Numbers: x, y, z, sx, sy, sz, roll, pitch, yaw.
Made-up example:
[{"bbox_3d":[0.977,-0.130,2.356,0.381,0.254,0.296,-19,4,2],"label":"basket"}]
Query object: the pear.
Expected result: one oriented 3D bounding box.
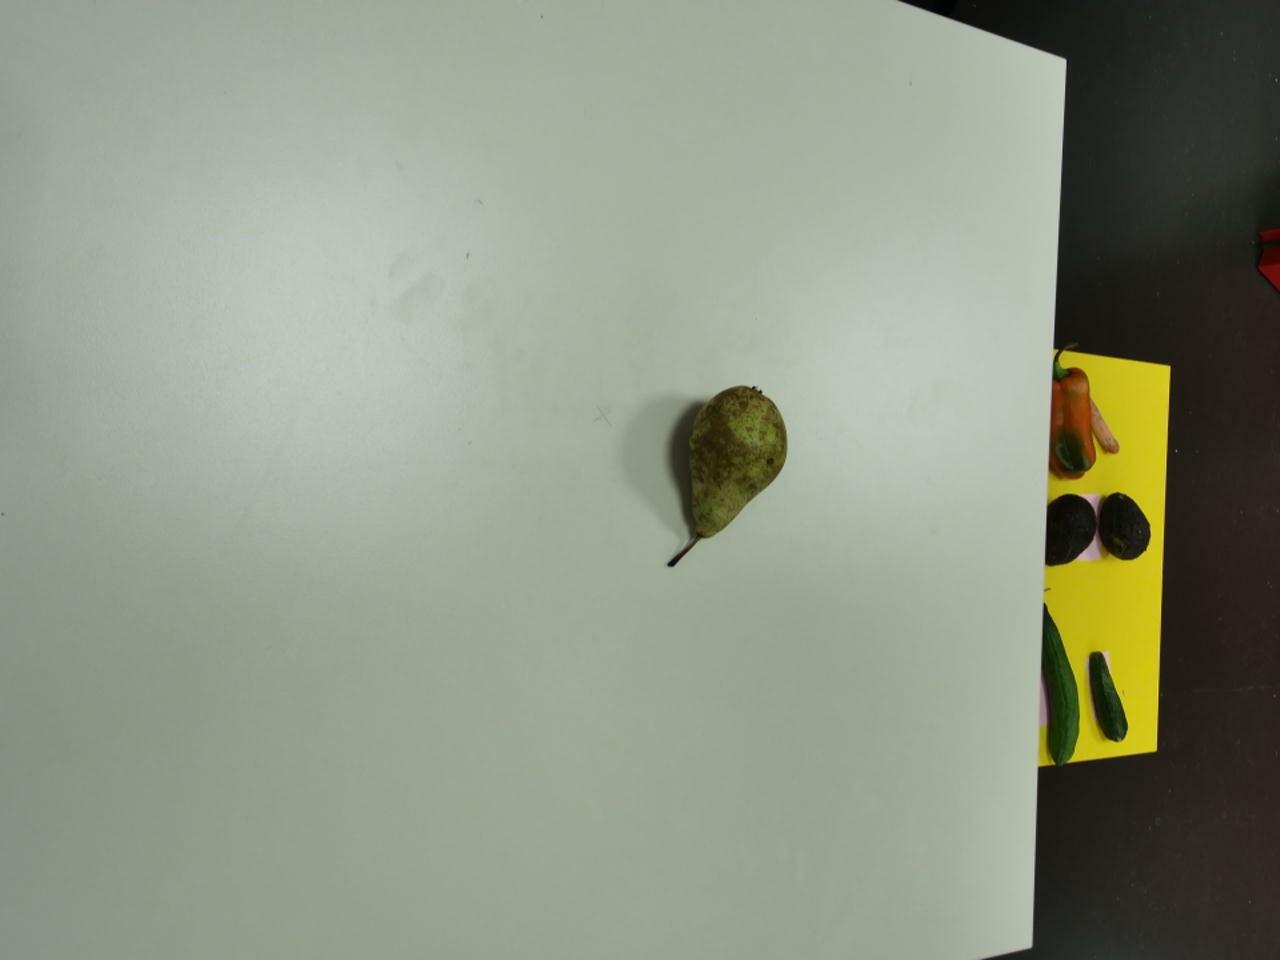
[{"bbox_3d":[0.070,-0.003,0.717,0.071,0.075,0.128,-4,93,-29],"label":"pear"}]
